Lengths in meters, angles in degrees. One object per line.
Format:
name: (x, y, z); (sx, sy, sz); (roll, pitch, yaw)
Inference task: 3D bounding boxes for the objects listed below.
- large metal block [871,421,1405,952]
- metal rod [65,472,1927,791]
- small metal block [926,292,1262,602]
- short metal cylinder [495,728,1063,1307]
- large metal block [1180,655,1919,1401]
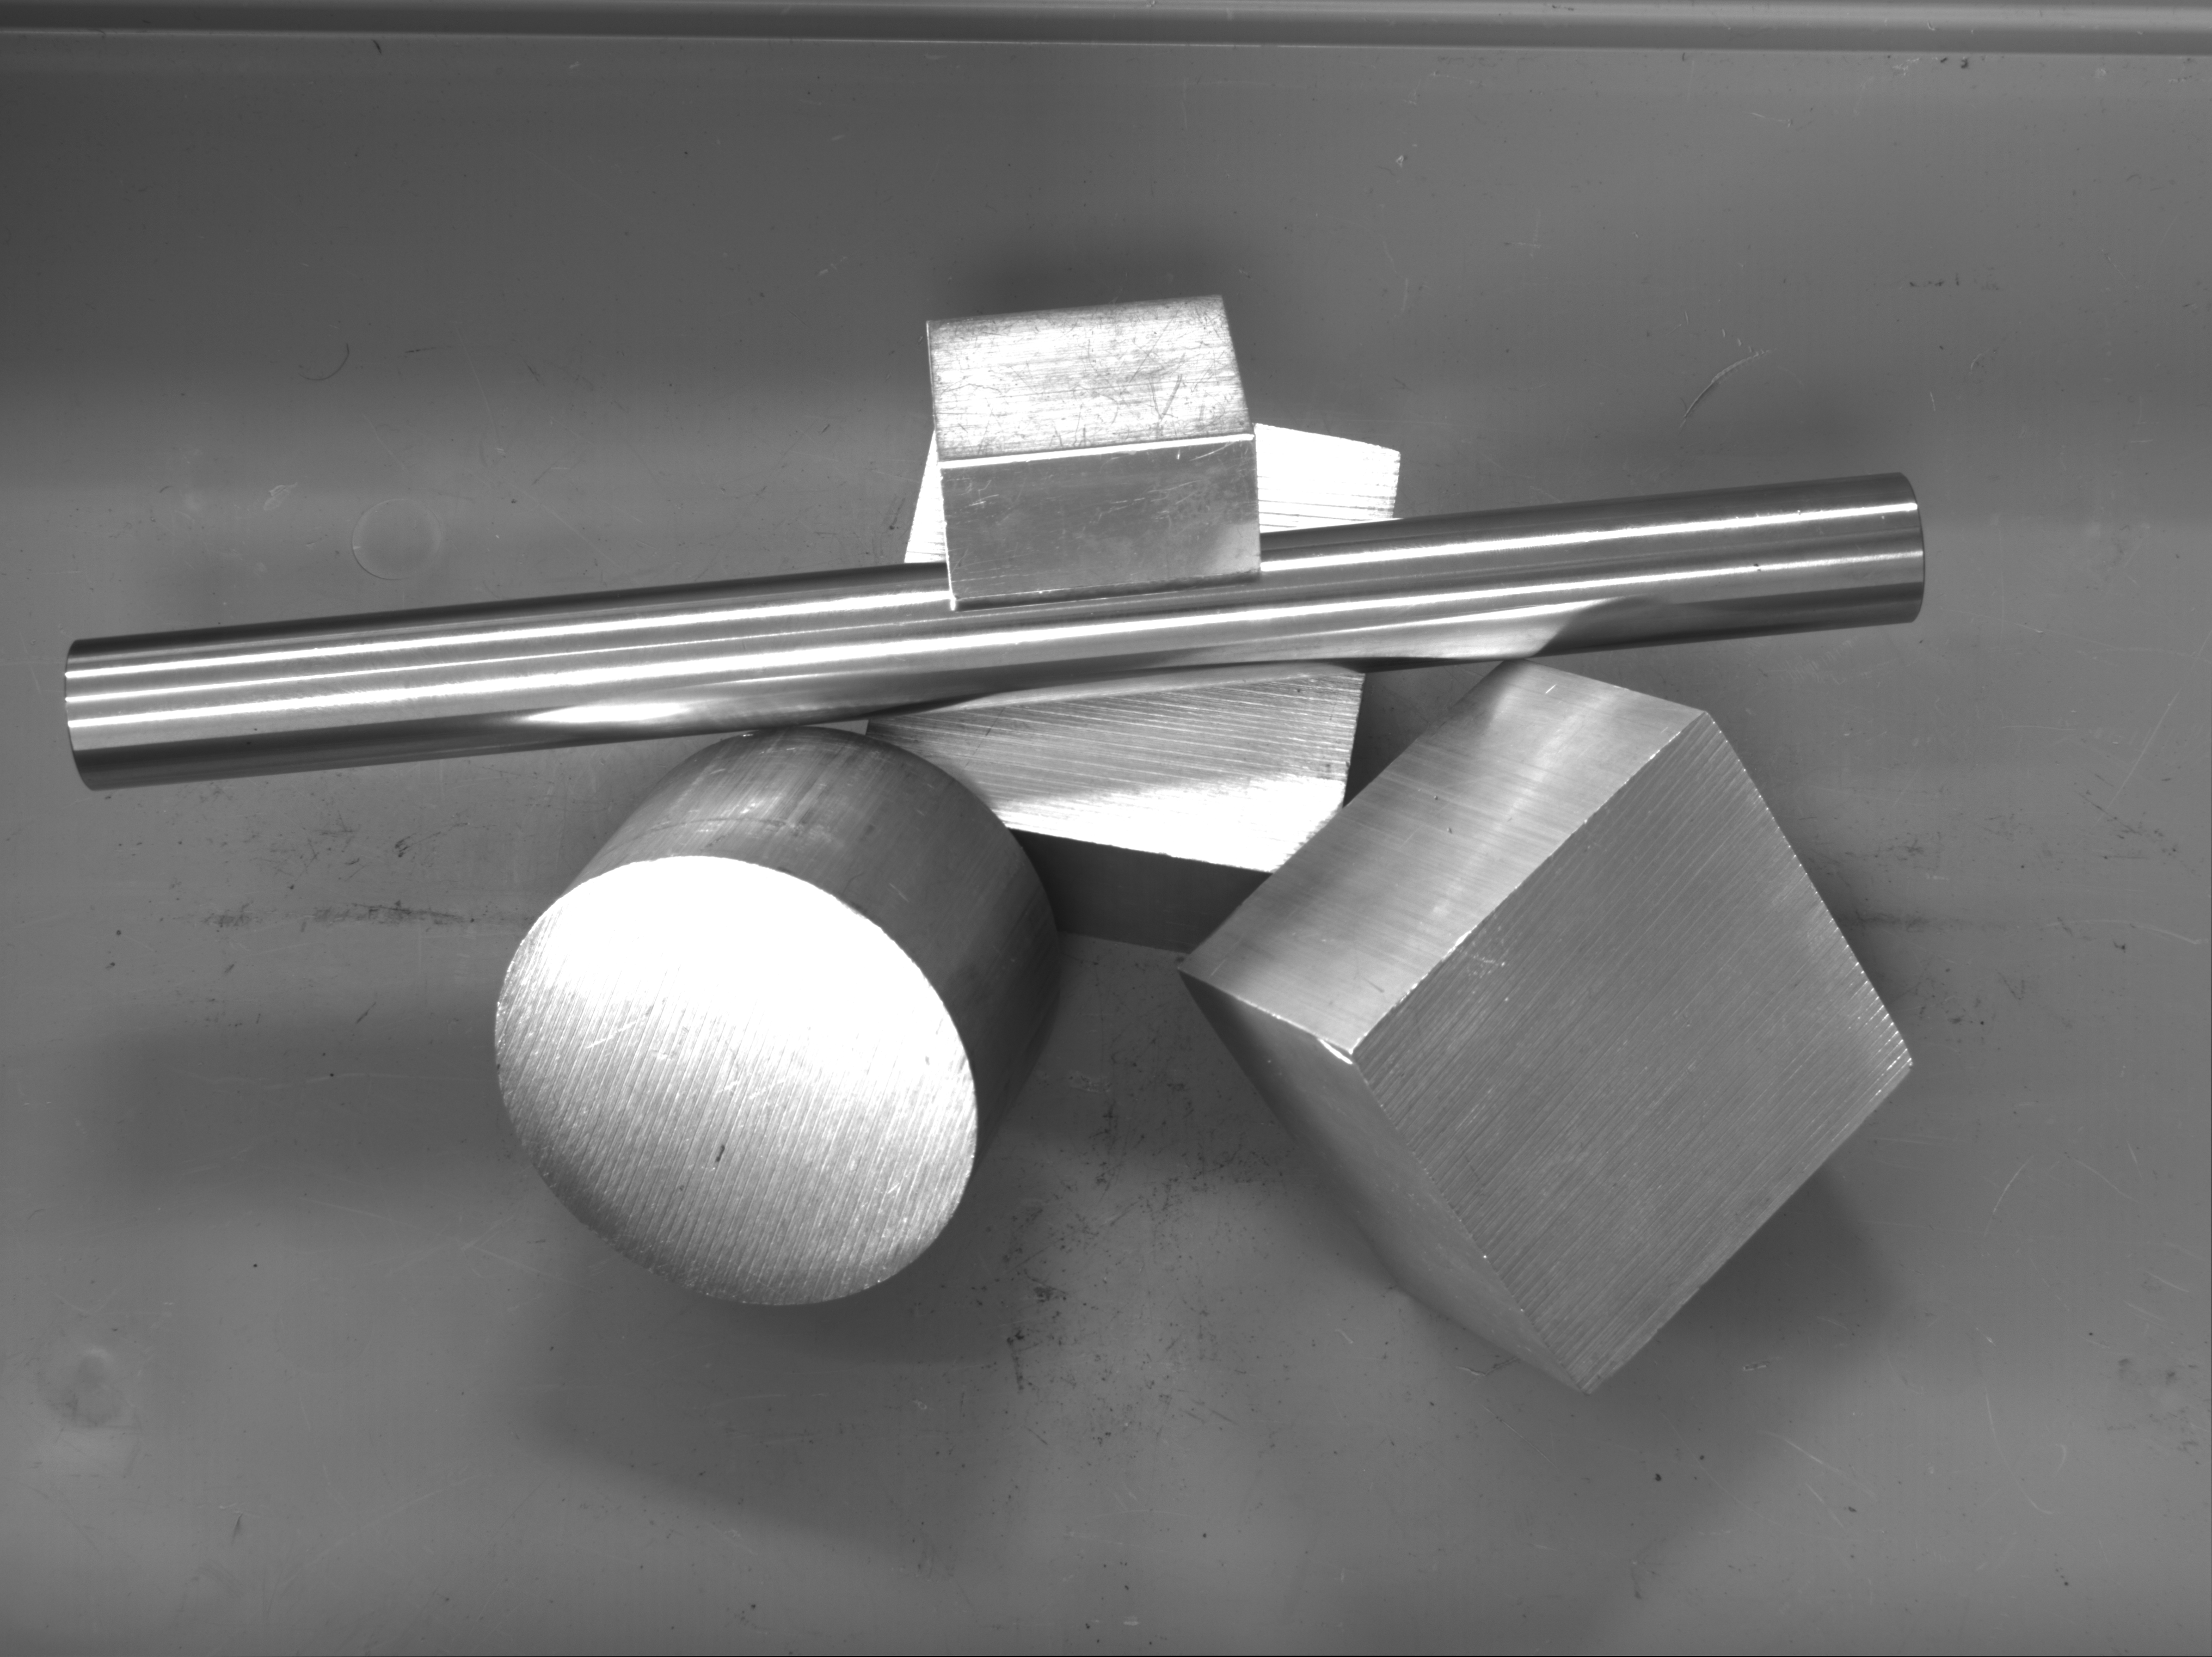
large metal block: (0.004, -0.027, 0.641); (0.080, 0.050, 0.080); (10, 70, 4)
metal rod: (-0.017, -0.032, 0.603); (0.300, 0.025, 0.025); (-5, 70, -2)
small metal block: (-0.003, -0.063, 0.601); (0.050, 0.025, 0.050); (-5, 35, -2)
short metal cylinder: (-0.052, 0.030, 0.597); (0.080, 0.080, 0.050); (18, 28, 7)
large metal block: (0.073, 0.031, 0.597); (0.080, 0.050, 0.080); (-43, 119, -14)
